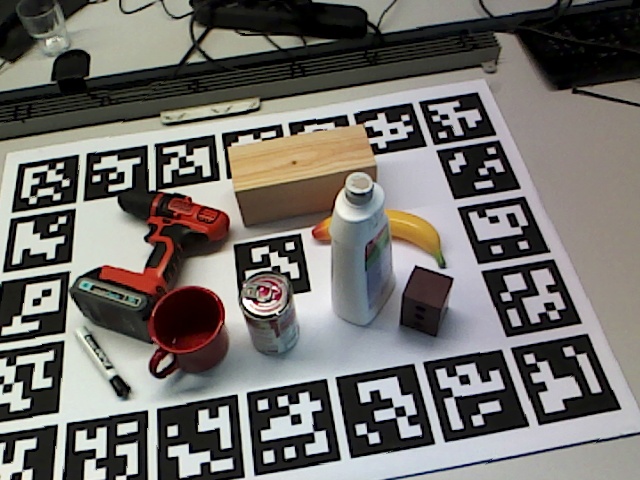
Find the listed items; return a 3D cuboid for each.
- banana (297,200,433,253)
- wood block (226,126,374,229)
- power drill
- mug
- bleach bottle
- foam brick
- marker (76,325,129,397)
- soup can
[{"bbox_3d":[0.066,-0.025,0.904,0.197,0.039,0.074,5,69,5],"label":"banana"},{"bbox_3d":[-0.029,-0.095,0.935,0.206,0.090,0.090,-10,56,-3],"label":"wood block"},{"bbox_3d":[-0.246,0.020,0.895,0.185,0.057,0.187,16,56,12],"label":"power drill"},{"bbox_3d":[-0.177,0.119,0.797,0.094,0.081,0.117,29,65,20],"label":"mug"},{"bbox_3d":[0.043,0.005,0.758,0.068,0.250,0.102,15,56,15],"label":"bleach bottle"},{"bbox_3d":[0.133,0.079,0.806,0.053,0.078,0.051,18,56,19],"label":"foam brick"},{"bbox_3d":[-0.288,0.160,0.819,0.019,0.019,0.122,-36,60,-17],"label":"marker"},{"bbox_3d":[-0.072,0.089,0.791,0.068,0.102,0.068,-2,50,2],"label":"soup can"}]
